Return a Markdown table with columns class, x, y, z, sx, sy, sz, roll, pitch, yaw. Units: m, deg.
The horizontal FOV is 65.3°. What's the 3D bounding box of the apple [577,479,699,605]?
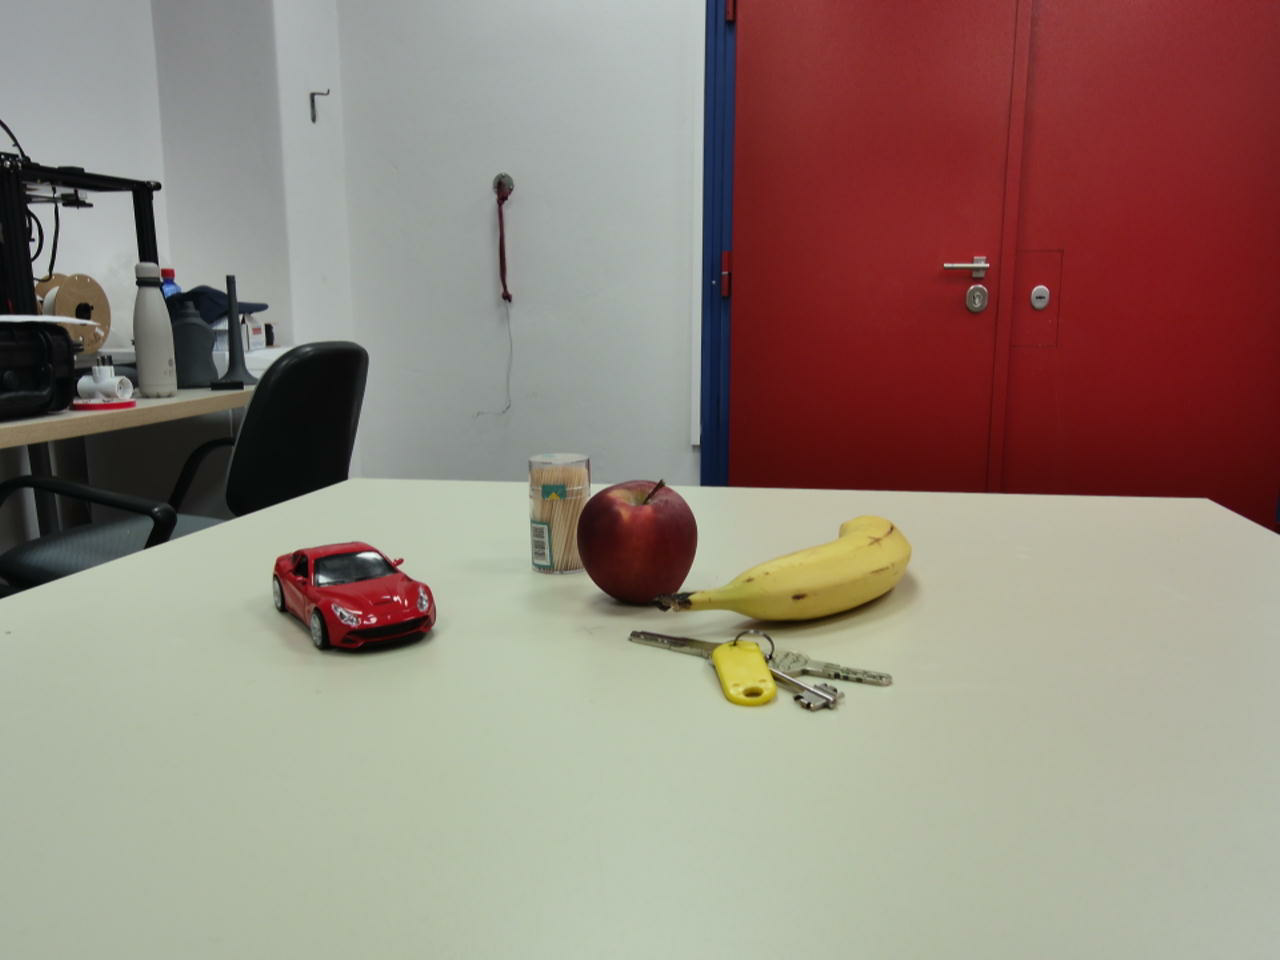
| class | x | y | z | sx | sy | sz | roll | pitch | yaw |
| --- | --- | --- | --- | --- | --- | --- | --- | --- | --- |
| apple | -0.002 | 0.034 | 0.577 | 0.070 | 0.072 | 0.070 | -1 | 7 | 0 |
